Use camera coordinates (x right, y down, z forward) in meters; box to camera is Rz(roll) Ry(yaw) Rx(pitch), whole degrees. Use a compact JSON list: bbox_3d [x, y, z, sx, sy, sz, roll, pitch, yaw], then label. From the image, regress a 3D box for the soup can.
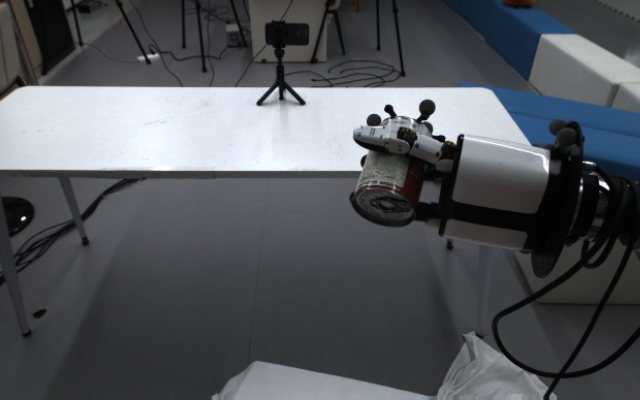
[{"bbox_3d":[0.080,-0.034,0.523,0.067,0.067,0.101,12,59,14],"label":"soup can"}]
